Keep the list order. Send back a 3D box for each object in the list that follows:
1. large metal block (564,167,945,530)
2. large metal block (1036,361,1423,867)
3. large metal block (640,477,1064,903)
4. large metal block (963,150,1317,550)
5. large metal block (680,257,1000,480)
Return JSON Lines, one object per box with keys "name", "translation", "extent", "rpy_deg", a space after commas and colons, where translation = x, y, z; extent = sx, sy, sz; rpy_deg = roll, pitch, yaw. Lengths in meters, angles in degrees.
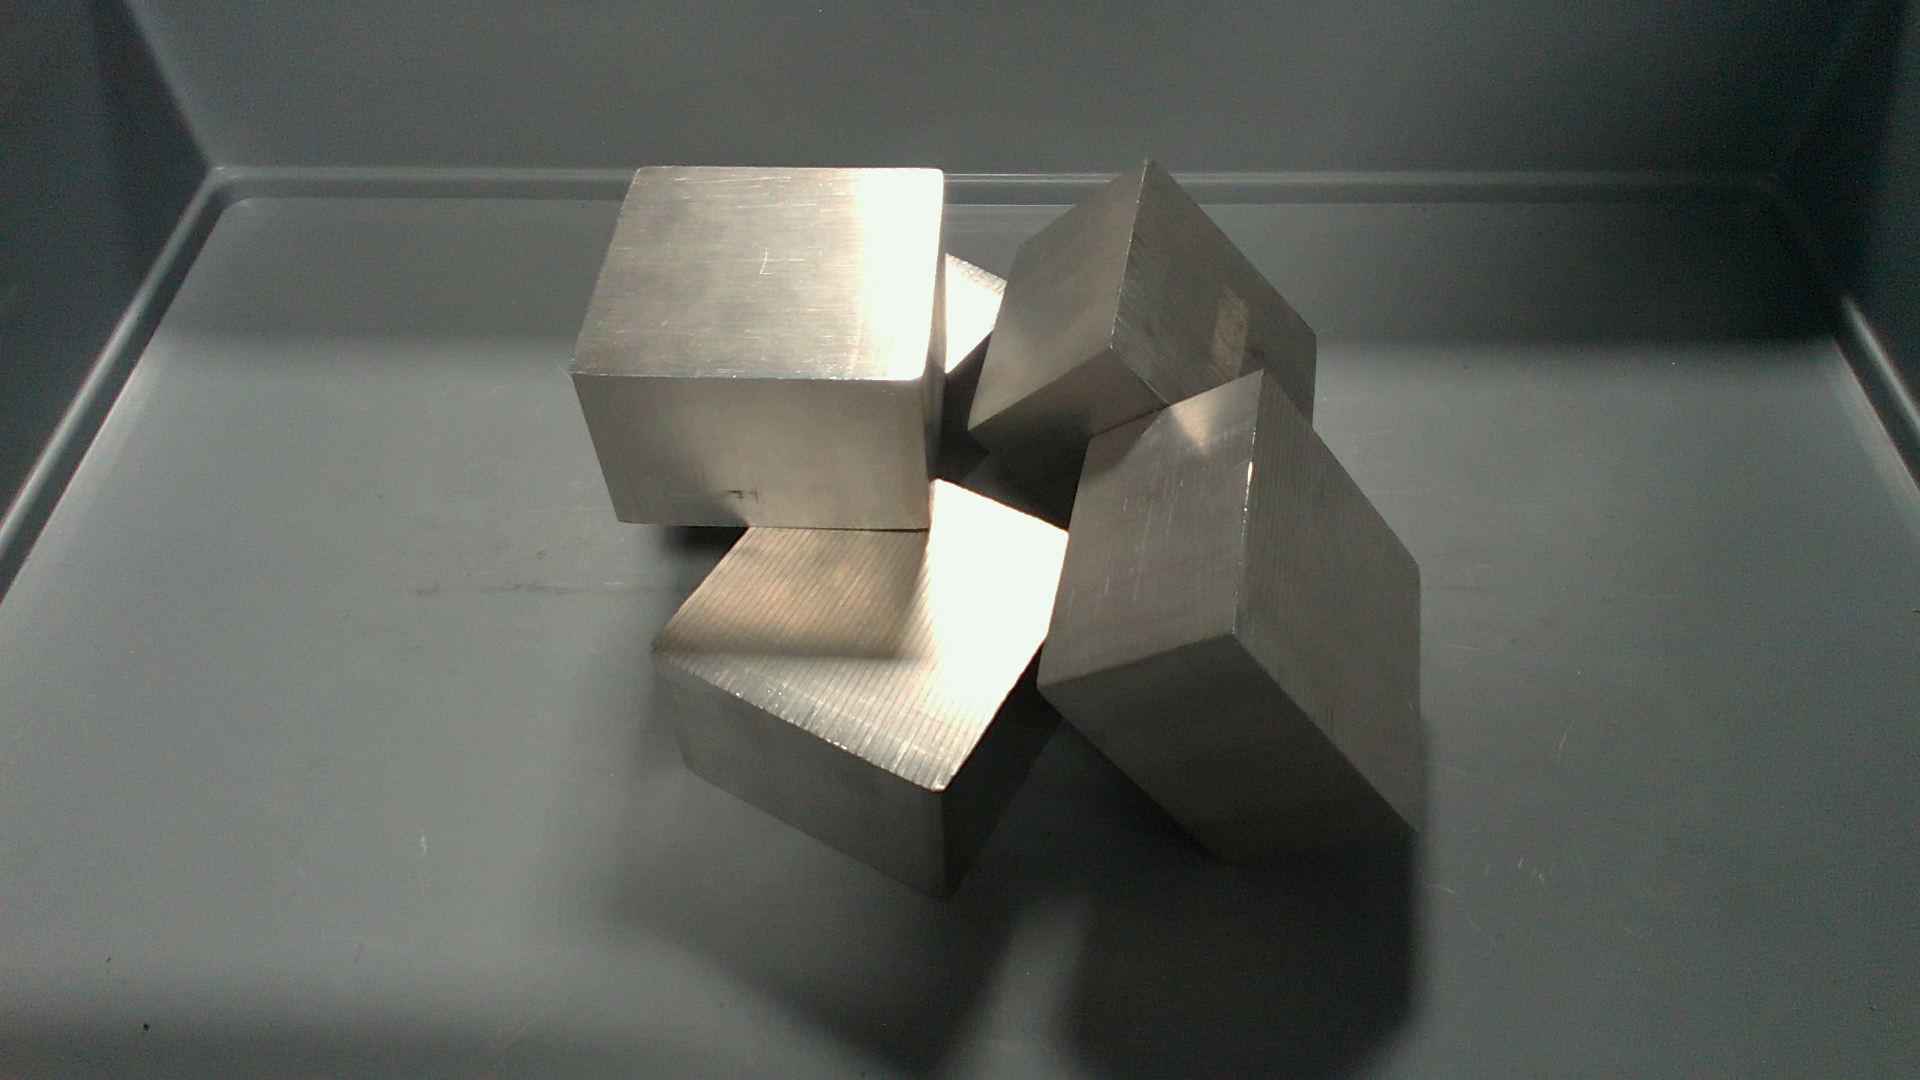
{"name": "large metal block", "translation": [-0.045, -0.050, 0.349], "extent": [0.080, 0.050, 0.080], "rpy_deg": [1, 49, 3]}
{"name": "large metal block", "translation": [0.069, 0.019, 0.329], "extent": [0.050, 0.080, 0.080], "rpy_deg": [-21, 38, 36]}
{"name": "large metal block", "translation": [-0.019, 0.029, 0.345], "extent": [0.080, 0.050, 0.080], "rpy_deg": [24, 54, 19]}
{"name": "large metal block", "translation": [0.054, -0.045, 0.384], "extent": [0.080, 0.050, 0.080], "rpy_deg": [39, 45, -27]}
{"name": "large metal block", "translation": [-0.035, -0.050, 0.416], "extent": [0.080, 0.050, 0.080], "rpy_deg": [29, 56, 22]}
